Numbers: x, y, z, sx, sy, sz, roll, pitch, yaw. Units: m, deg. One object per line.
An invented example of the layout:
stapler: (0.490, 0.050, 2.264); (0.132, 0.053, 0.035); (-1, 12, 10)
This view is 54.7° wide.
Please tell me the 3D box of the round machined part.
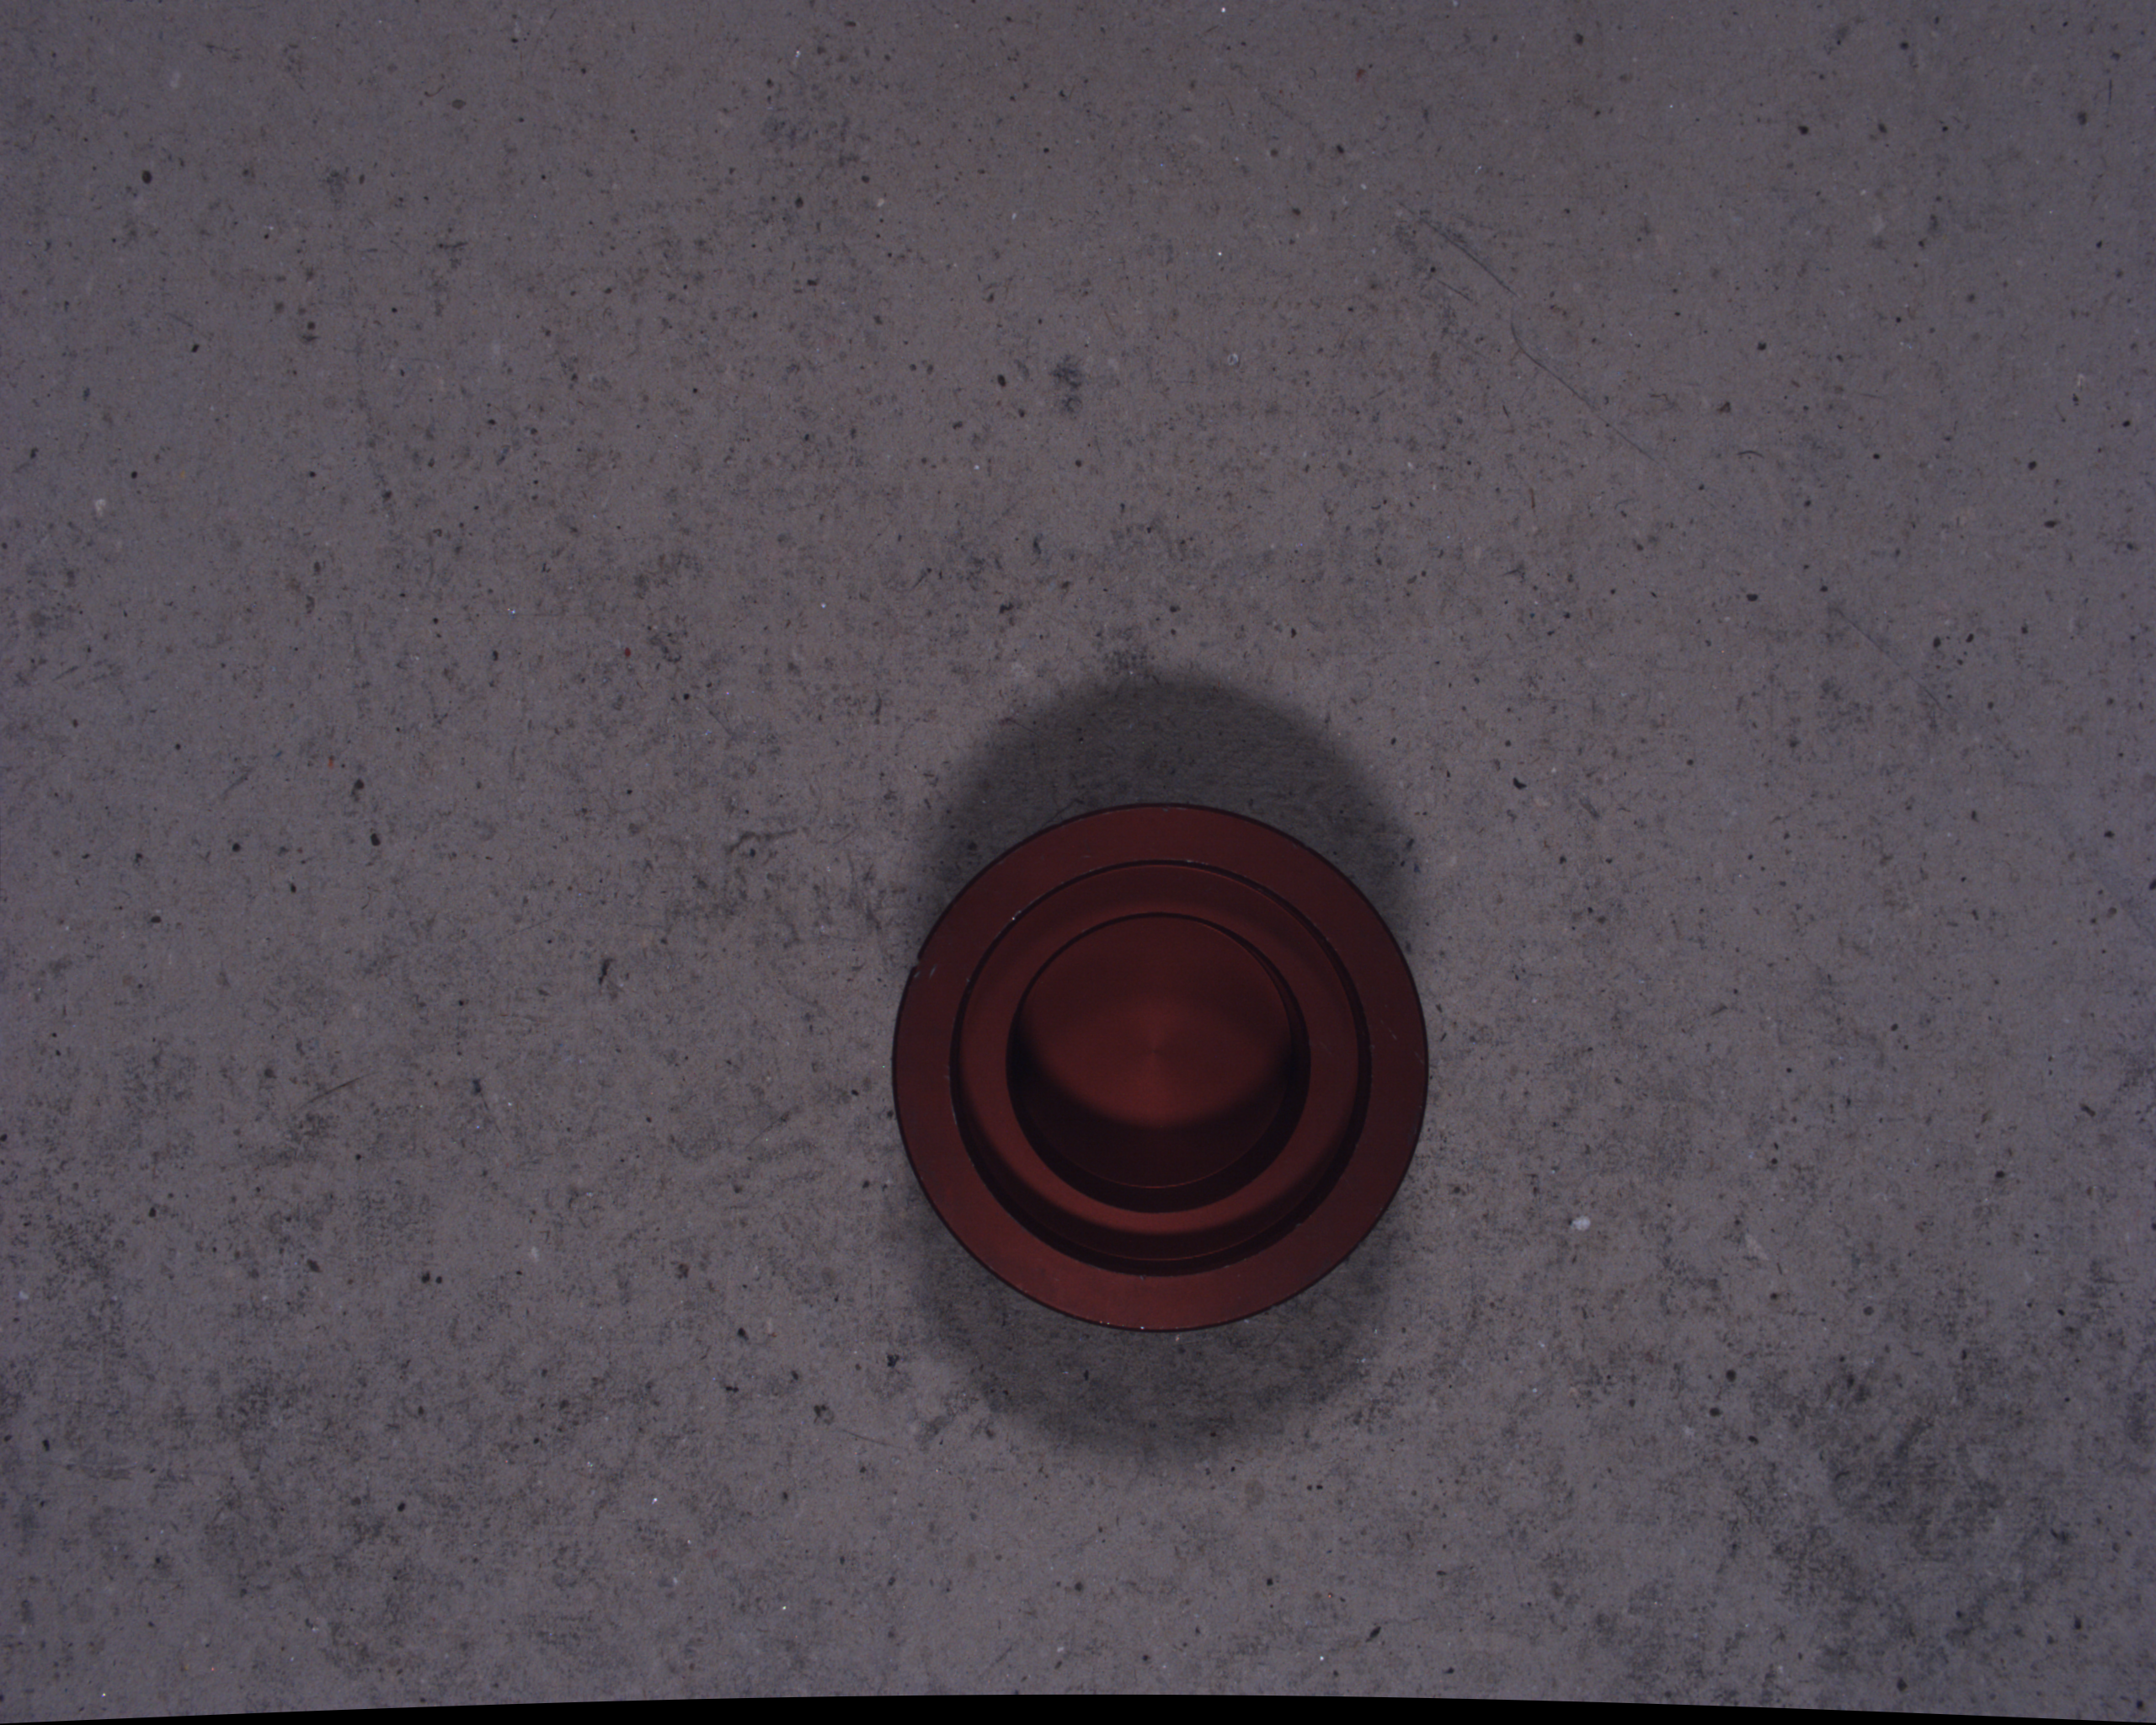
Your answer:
round machined part: (0.015, 0.037, 0.403); (0.099, 0.042, 0.097); (0, 90, -1)
